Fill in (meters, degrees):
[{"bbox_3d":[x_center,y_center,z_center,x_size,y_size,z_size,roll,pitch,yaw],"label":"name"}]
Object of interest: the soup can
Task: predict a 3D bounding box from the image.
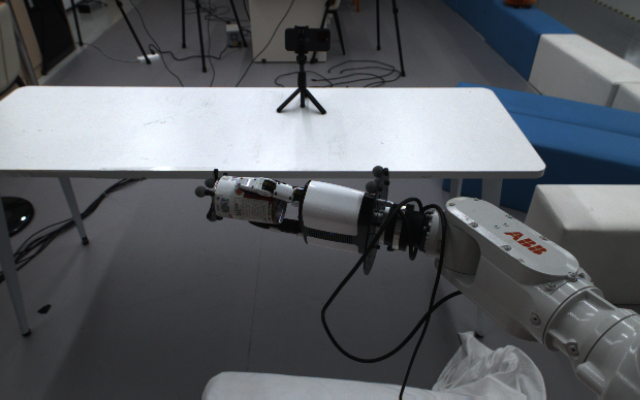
[{"bbox_3d":[-0.107,0.001,0.753,0.101,0.067,0.067,7,35,10],"label":"soup can"}]
